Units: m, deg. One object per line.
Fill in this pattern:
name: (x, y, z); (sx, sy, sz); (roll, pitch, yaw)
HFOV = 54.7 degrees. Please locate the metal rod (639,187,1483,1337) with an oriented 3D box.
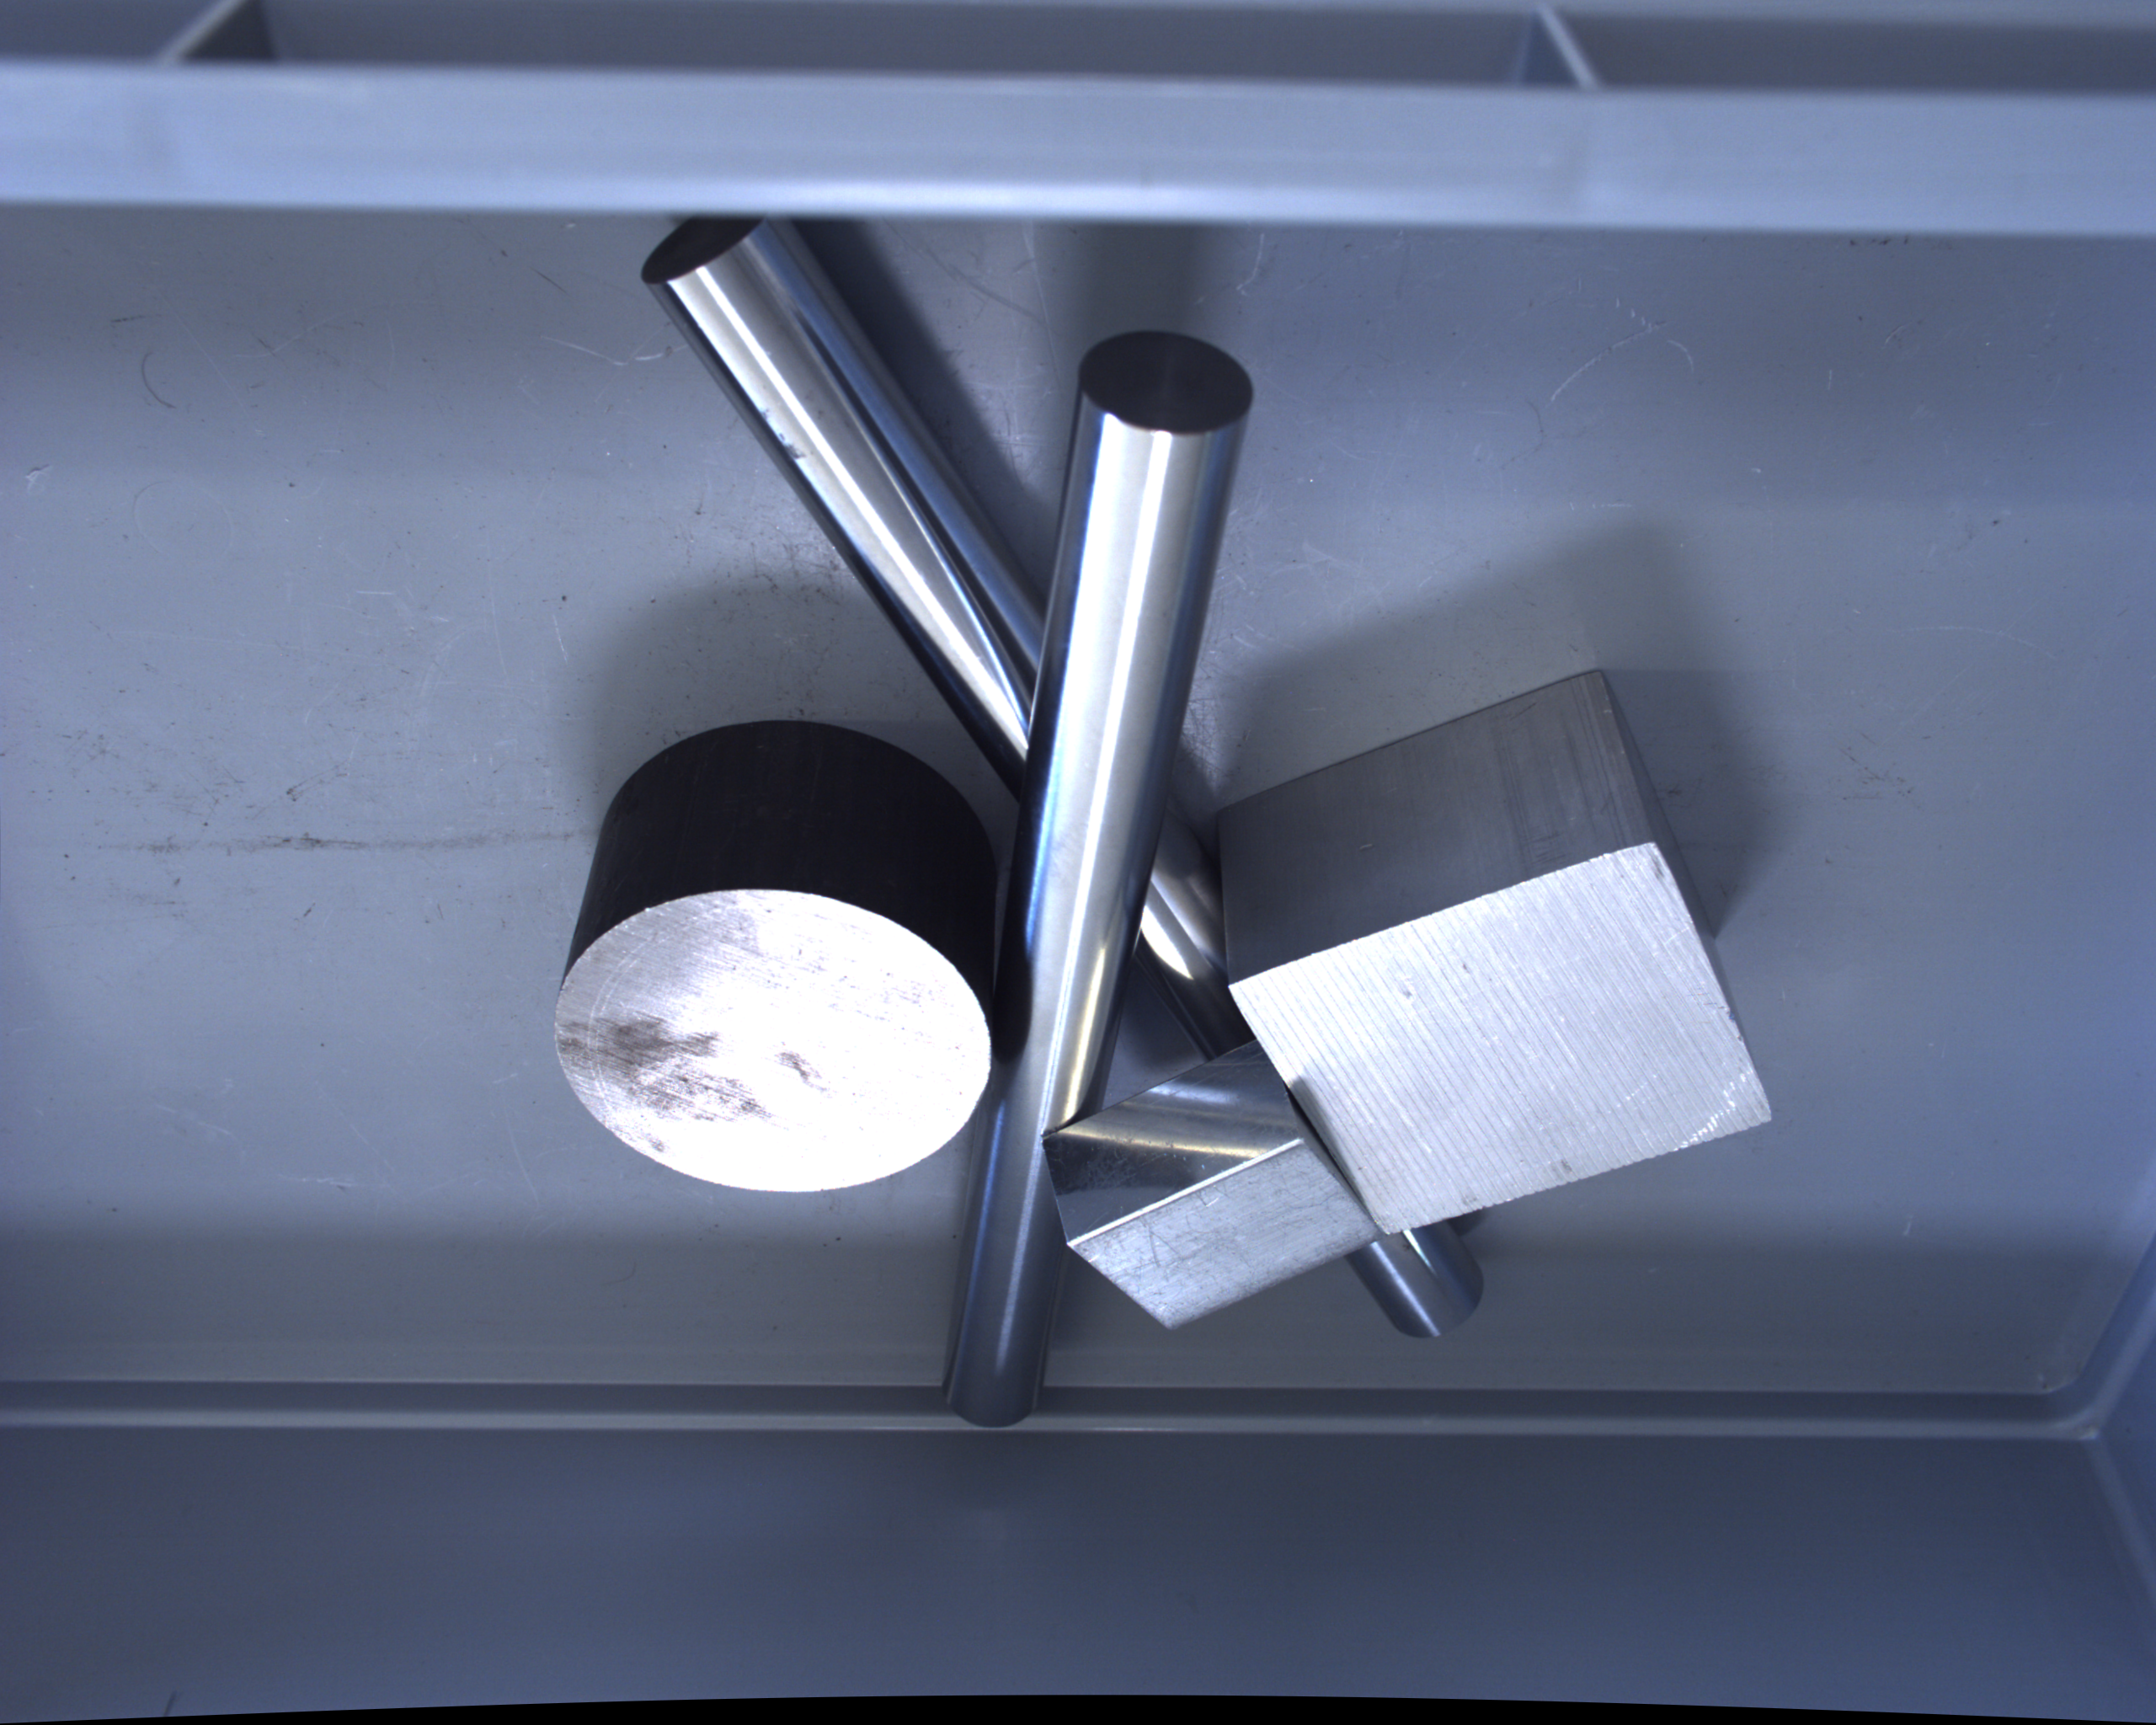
metal rod: (0.013, 0.003, 0.409); (0.025, 0.025, 0.300); (-22, 127, 18)

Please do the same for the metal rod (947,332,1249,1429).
metal rod: (-0.004, 0.030, 0.407); (0.025, 0.025, 0.298); (5, 138, -4)

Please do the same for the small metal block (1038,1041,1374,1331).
small metal block: (0.028, 0.065, 0.421); (0.050, 0.025, 0.050); (-27, 141, 11)

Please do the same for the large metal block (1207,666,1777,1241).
large metal block: (0.080, 0.020, 0.407); (0.080, 0.050, 0.080); (-21, 127, 17)

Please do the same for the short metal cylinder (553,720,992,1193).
short metal cylinder: (-0.057, 0.019, 0.406); (0.081, 0.050, 0.079); (-1, 130, -1)
